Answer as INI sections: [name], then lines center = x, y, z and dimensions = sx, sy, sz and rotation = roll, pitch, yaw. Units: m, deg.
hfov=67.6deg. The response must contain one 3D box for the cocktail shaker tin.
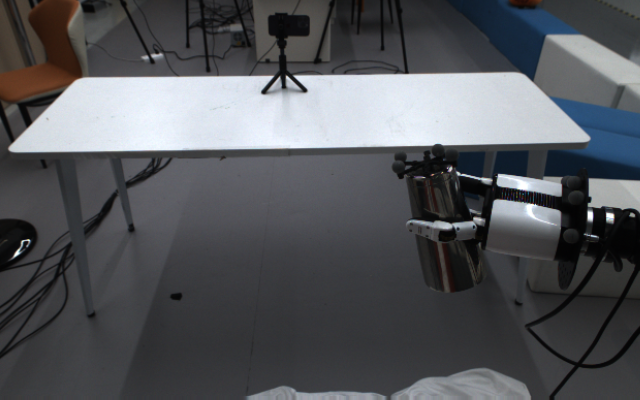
[cocktail shaker tin]
center = 0.173, 0.032, 0.678
dimensions = 0.093, 0.170, 0.093
rotation = -17, 20, 7
